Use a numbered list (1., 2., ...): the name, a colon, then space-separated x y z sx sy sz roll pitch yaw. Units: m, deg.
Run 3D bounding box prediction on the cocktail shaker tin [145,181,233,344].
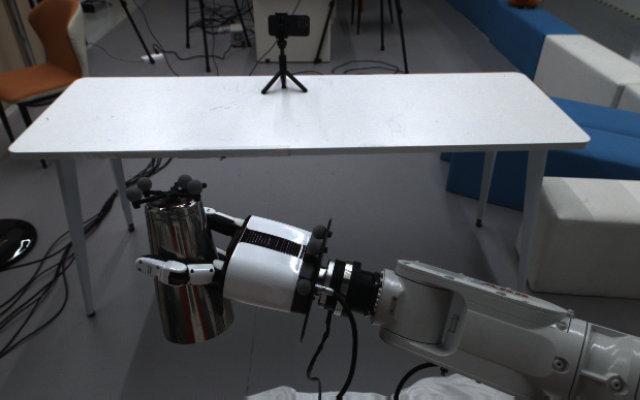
1. cocktail shaker tin: -0.166 0.081 0.601 0.093 0.170 0.093 -6 19 2
